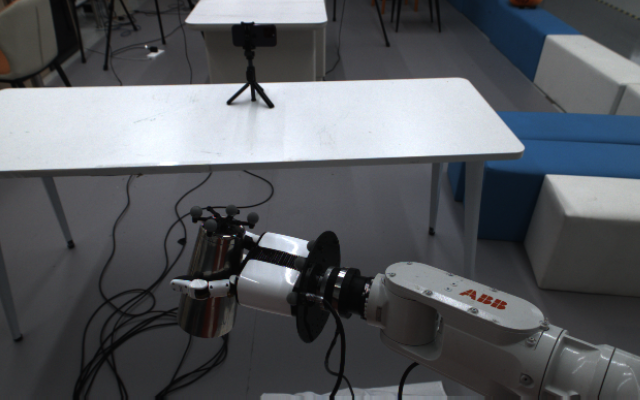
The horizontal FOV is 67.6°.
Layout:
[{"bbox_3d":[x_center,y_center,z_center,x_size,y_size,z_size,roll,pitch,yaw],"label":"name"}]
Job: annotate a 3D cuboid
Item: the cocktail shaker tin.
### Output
[{"bbox_3d":[-0.159,0.111,0.734,0.093,0.170,0.093,12,24,-5],"label":"cocktail shaker tin"}]
